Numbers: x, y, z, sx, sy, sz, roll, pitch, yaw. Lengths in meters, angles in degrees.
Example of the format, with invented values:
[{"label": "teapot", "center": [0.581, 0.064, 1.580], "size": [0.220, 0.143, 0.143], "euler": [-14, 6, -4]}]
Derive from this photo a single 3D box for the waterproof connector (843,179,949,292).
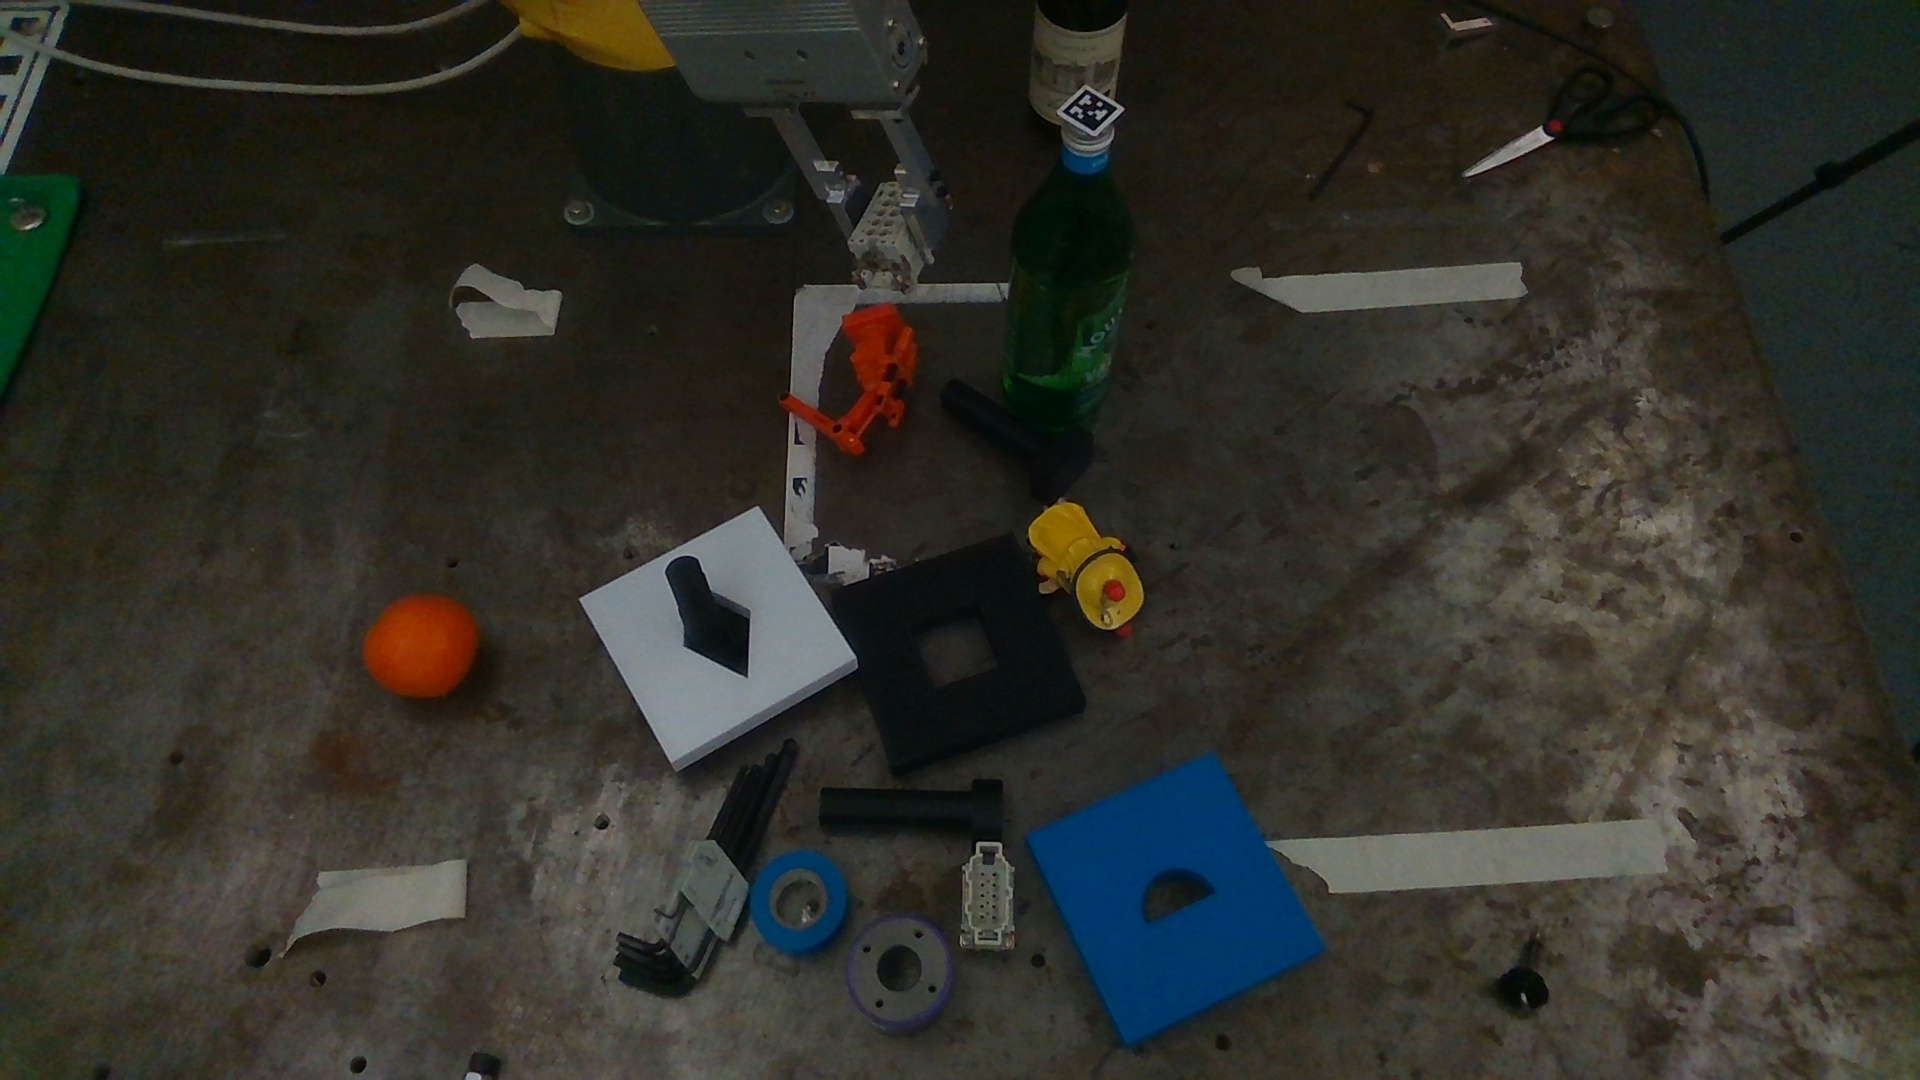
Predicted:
[{"label": "waterproof connector", "center": [-0.034, -0.167, 0.762], "size": [0.037, 0.038, 0.069], "euler": [11, 63, 33]}]
